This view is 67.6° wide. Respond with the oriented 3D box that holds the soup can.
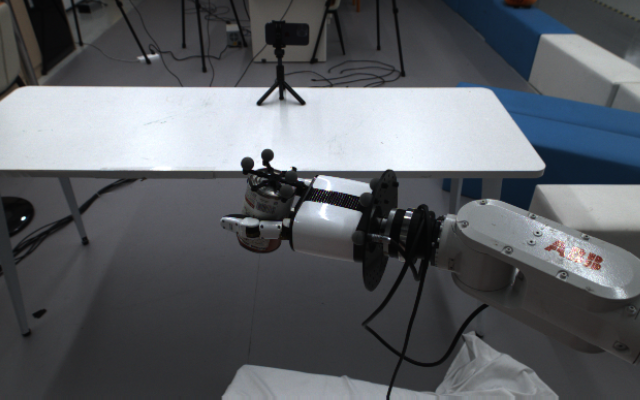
[{"bbox_3d":[-0.075,0.016,0.675,0.067,0.101,0.067,13,35,-9],"label":"soup can"}]
